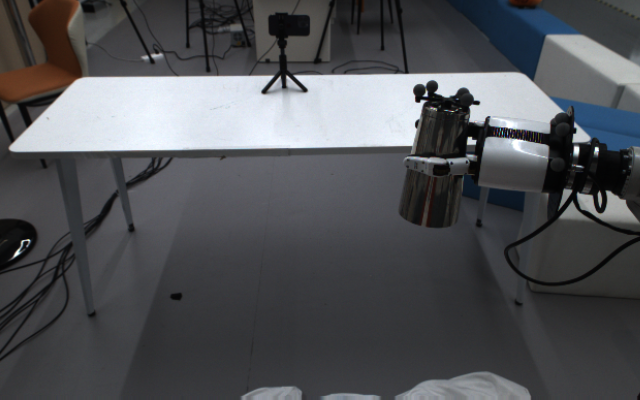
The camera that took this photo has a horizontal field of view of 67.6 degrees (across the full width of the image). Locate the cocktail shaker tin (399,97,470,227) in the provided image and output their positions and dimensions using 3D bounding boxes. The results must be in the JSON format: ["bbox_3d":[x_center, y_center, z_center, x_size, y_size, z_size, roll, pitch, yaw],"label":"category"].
[{"bbox_3d":[0.173,-0.057,0.714,0.093,0.170,0.093,3,26,-1],"label":"cocktail shaker tin"}]
